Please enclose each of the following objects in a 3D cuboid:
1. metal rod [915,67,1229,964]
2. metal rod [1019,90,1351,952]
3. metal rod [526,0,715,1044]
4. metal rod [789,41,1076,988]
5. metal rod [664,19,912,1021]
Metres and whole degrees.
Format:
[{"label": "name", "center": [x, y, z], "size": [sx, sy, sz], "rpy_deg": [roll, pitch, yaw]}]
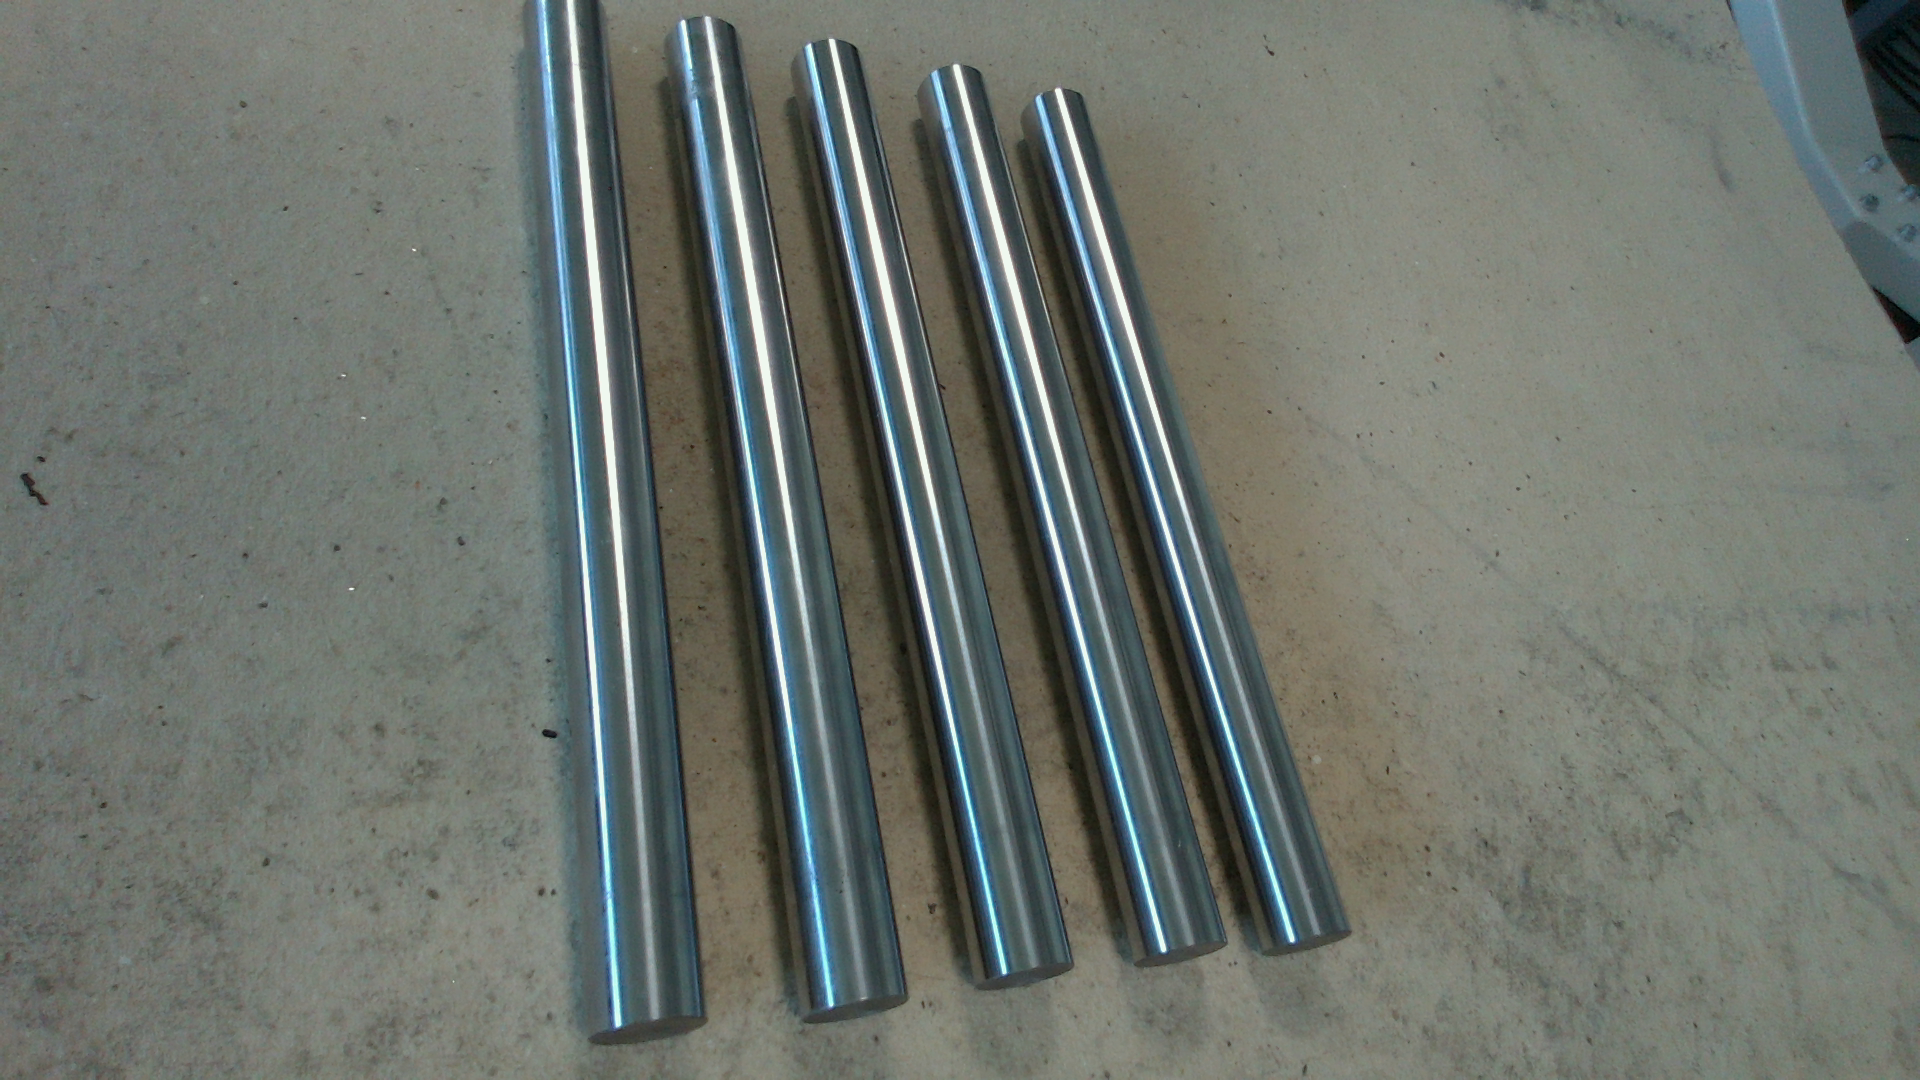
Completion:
[{"label": "metal rod", "center": [0.027, -0.025, 0.419], "size": [0.025, 0.025, 0.300], "rpy_deg": [1, 61, -27]}, {"label": "metal rod", "center": [0.063, -0.023, 0.438], "size": [0.025, 0.025, 0.300], "rpy_deg": [1, 61, -27]}, {"label": "metal rod", "center": [-0.092, -0.028, 0.356], "size": [0.025, 0.025, 0.300], "rpy_deg": [2, 60, -27]}, {"label": "metal rod", "center": [-0.015, -0.026, 0.398], "size": [0.025, 0.025, 0.300], "rpy_deg": [1, 61, -27]}, {"label": "metal rod", "center": [-0.053, -0.026, 0.377], "size": [0.025, 0.025, 0.300], "rpy_deg": [2, 61, -27]}]
